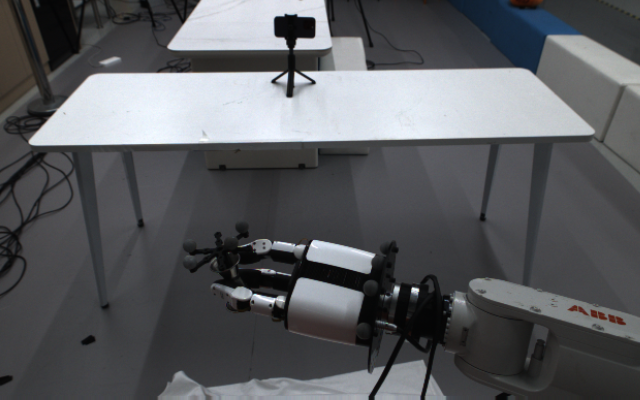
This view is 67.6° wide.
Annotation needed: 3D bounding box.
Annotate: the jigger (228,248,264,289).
[{"bbox_3d":[-0.110,0.106,0.628,0.043,0.071,0.043,-12,29,7],"label":"jigger"}]
